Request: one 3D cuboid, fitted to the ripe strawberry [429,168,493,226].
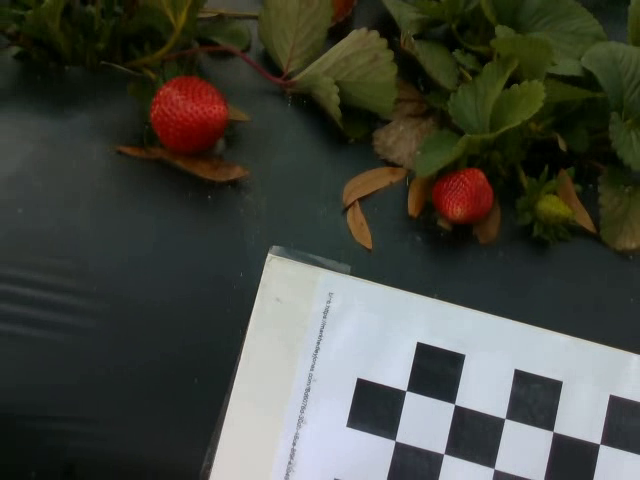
[{"bbox_3d":[0.081,-0.021,0.331,0.040,0.037,0.042,26,33,0],"label":"ripe strawberry"}]

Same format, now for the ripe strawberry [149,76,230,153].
[{"bbox_3d":[-0.066,-0.068,0.330,0.042,0.047,0.065,25,-8,-39],"label":"ripe strawberry"}]
